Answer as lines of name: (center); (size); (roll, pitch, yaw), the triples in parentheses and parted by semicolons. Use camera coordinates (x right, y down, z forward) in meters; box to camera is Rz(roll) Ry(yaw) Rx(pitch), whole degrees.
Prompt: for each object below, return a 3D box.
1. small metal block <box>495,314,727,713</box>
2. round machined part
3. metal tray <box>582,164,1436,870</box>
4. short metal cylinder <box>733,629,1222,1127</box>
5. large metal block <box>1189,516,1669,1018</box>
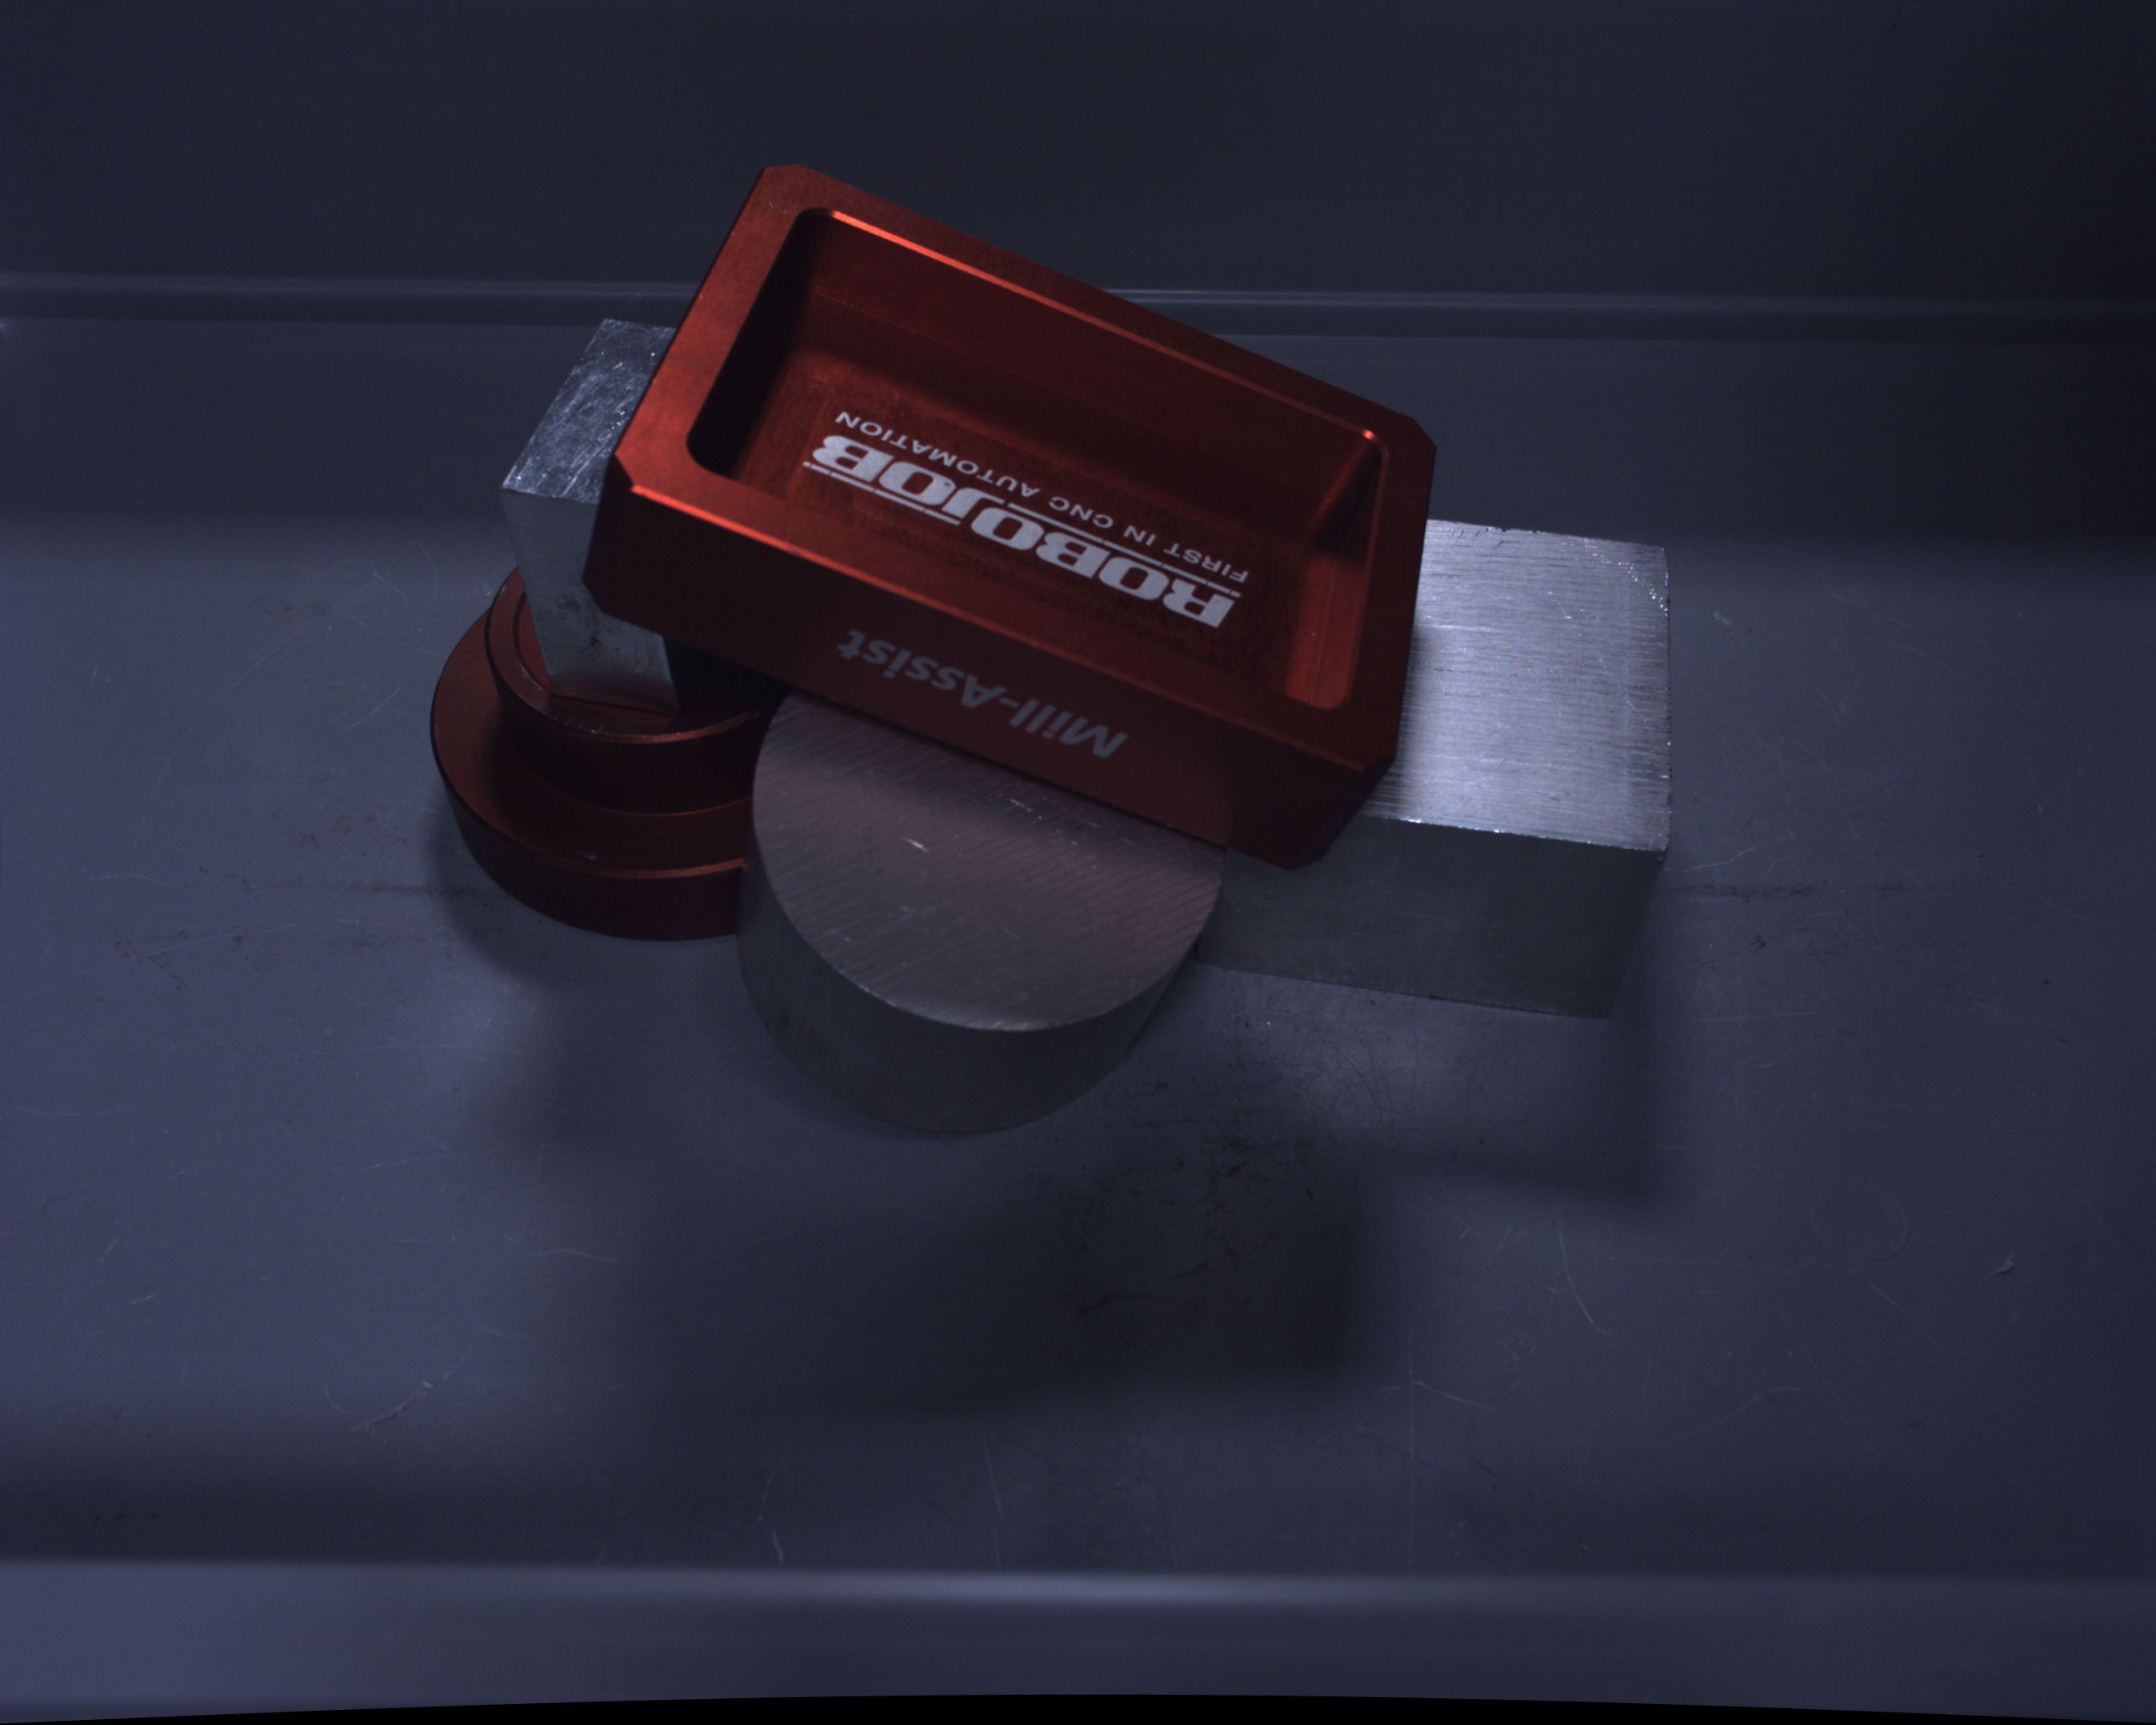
small metal block: (-0.081, -0.064, 0.385); (0.025, 0.050, 0.050); (10, 51, 8)
round machined part: (-0.081, -0.035, 0.420); (0.099, 0.042, 0.098); (0, 50, 0)
metal tray: (-0.007, -0.061, 0.359); (0.131, 0.030, 0.090); (20, 50, -8)
short metal cylinder: (-0.020, 0.001, 0.371); (0.081, 0.050, 0.080); (6, 63, -11)
large metal block: (0.068, -0.022, 0.404); (0.080, 0.050, 0.080); (8, 50, 6)
